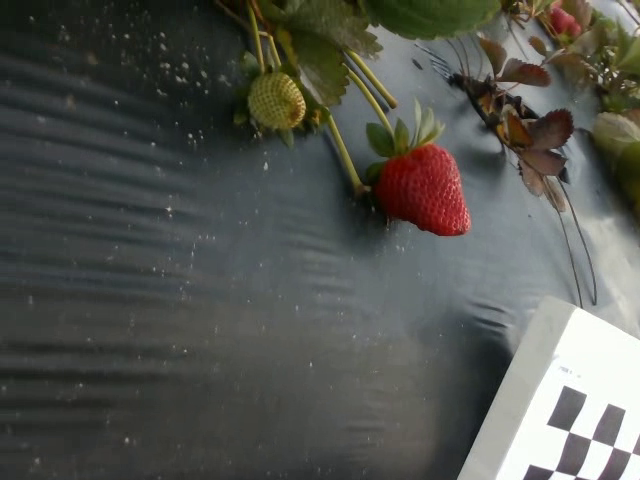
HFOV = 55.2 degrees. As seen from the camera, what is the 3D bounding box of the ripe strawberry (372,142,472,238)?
[{"bbox_3d":[0.050,-0.020,0.275,0.045,0.042,0.055,-29,53,-18],"label":"ripe strawberry"}]
